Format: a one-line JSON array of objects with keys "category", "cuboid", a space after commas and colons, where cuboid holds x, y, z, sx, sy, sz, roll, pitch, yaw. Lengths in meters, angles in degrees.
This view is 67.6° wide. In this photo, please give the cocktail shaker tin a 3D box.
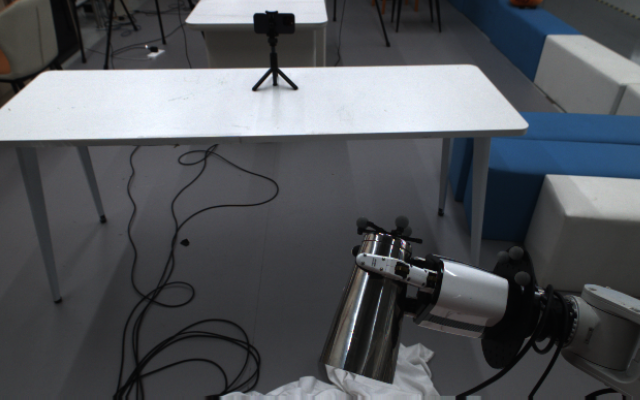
[{"category": "cocktail shaker tin", "cuboid": [0.068, 0.130, 0.614, 0.093, 0.093, 0.170, 12, 72, 14]}]
